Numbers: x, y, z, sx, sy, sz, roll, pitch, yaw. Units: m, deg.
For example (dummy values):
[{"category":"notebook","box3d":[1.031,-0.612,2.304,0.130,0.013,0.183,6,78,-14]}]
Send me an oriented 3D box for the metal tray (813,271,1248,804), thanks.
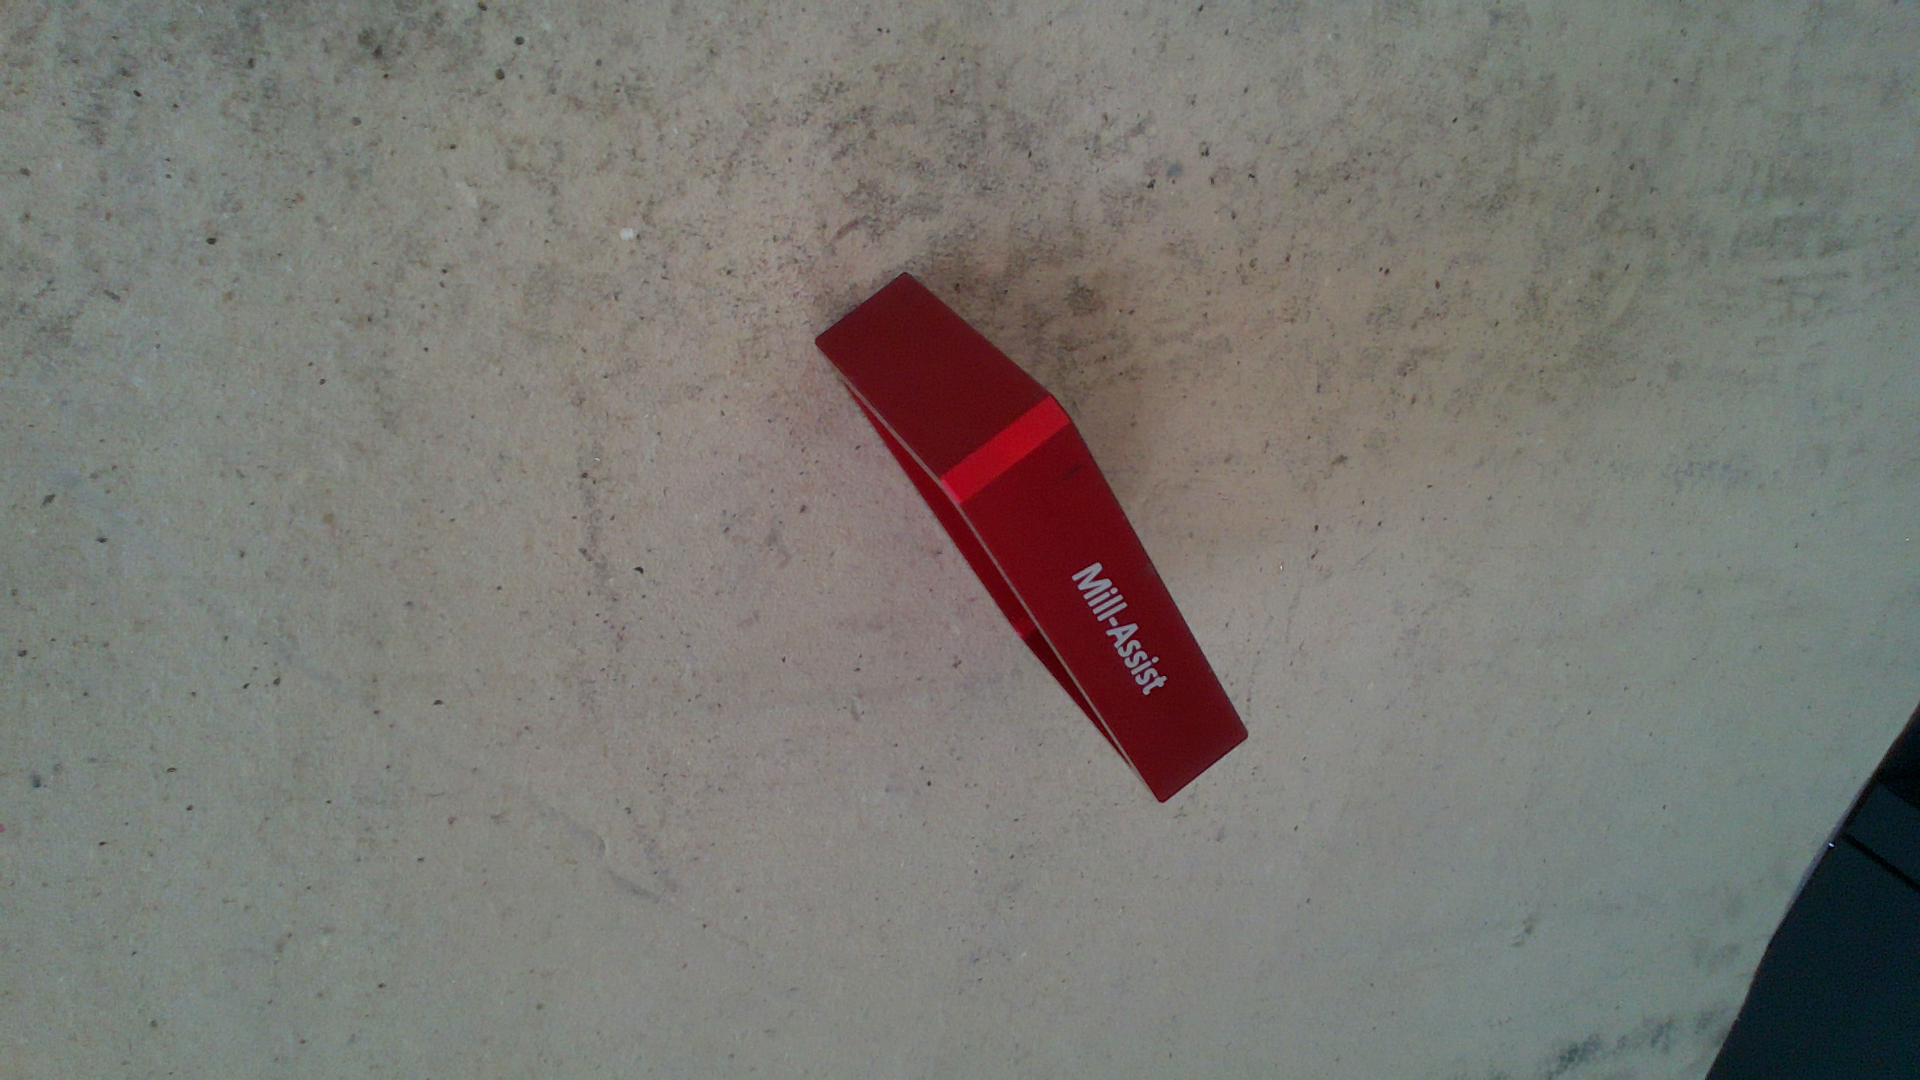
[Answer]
[{"category":"metal tray","box3d":[0.019,0.001,0.358,0.030,0.090,0.130,-37,130,-3]}]
